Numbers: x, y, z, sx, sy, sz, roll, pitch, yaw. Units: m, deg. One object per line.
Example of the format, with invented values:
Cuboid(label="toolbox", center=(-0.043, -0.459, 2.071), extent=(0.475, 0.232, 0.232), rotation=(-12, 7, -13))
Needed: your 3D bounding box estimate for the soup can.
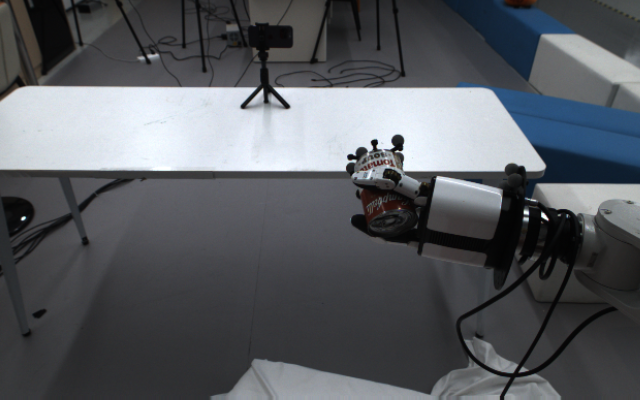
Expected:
Cuboid(label="soup can", center=(0.089, -0.011, 0.656), extent=(0.067, 0.067, 0.101), rotation=(-5, 57, -10))
